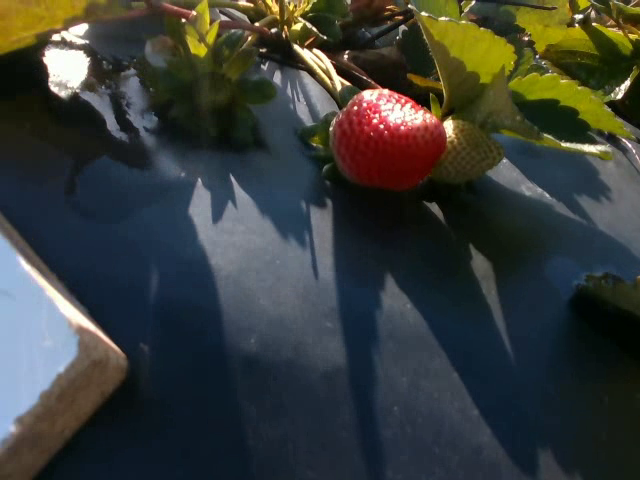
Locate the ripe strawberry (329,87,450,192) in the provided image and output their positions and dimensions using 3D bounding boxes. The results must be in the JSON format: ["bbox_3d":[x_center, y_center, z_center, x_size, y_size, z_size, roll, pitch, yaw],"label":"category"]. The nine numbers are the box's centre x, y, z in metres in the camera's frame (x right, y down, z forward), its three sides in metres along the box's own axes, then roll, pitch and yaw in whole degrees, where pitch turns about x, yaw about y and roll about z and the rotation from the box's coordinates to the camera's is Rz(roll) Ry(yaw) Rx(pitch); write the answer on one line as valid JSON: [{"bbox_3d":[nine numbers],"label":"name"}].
[{"bbox_3d":[0.022,-0.025,0.162,0.042,0.037,0.045,32,-18,-14],"label":"ripe strawberry"}]
